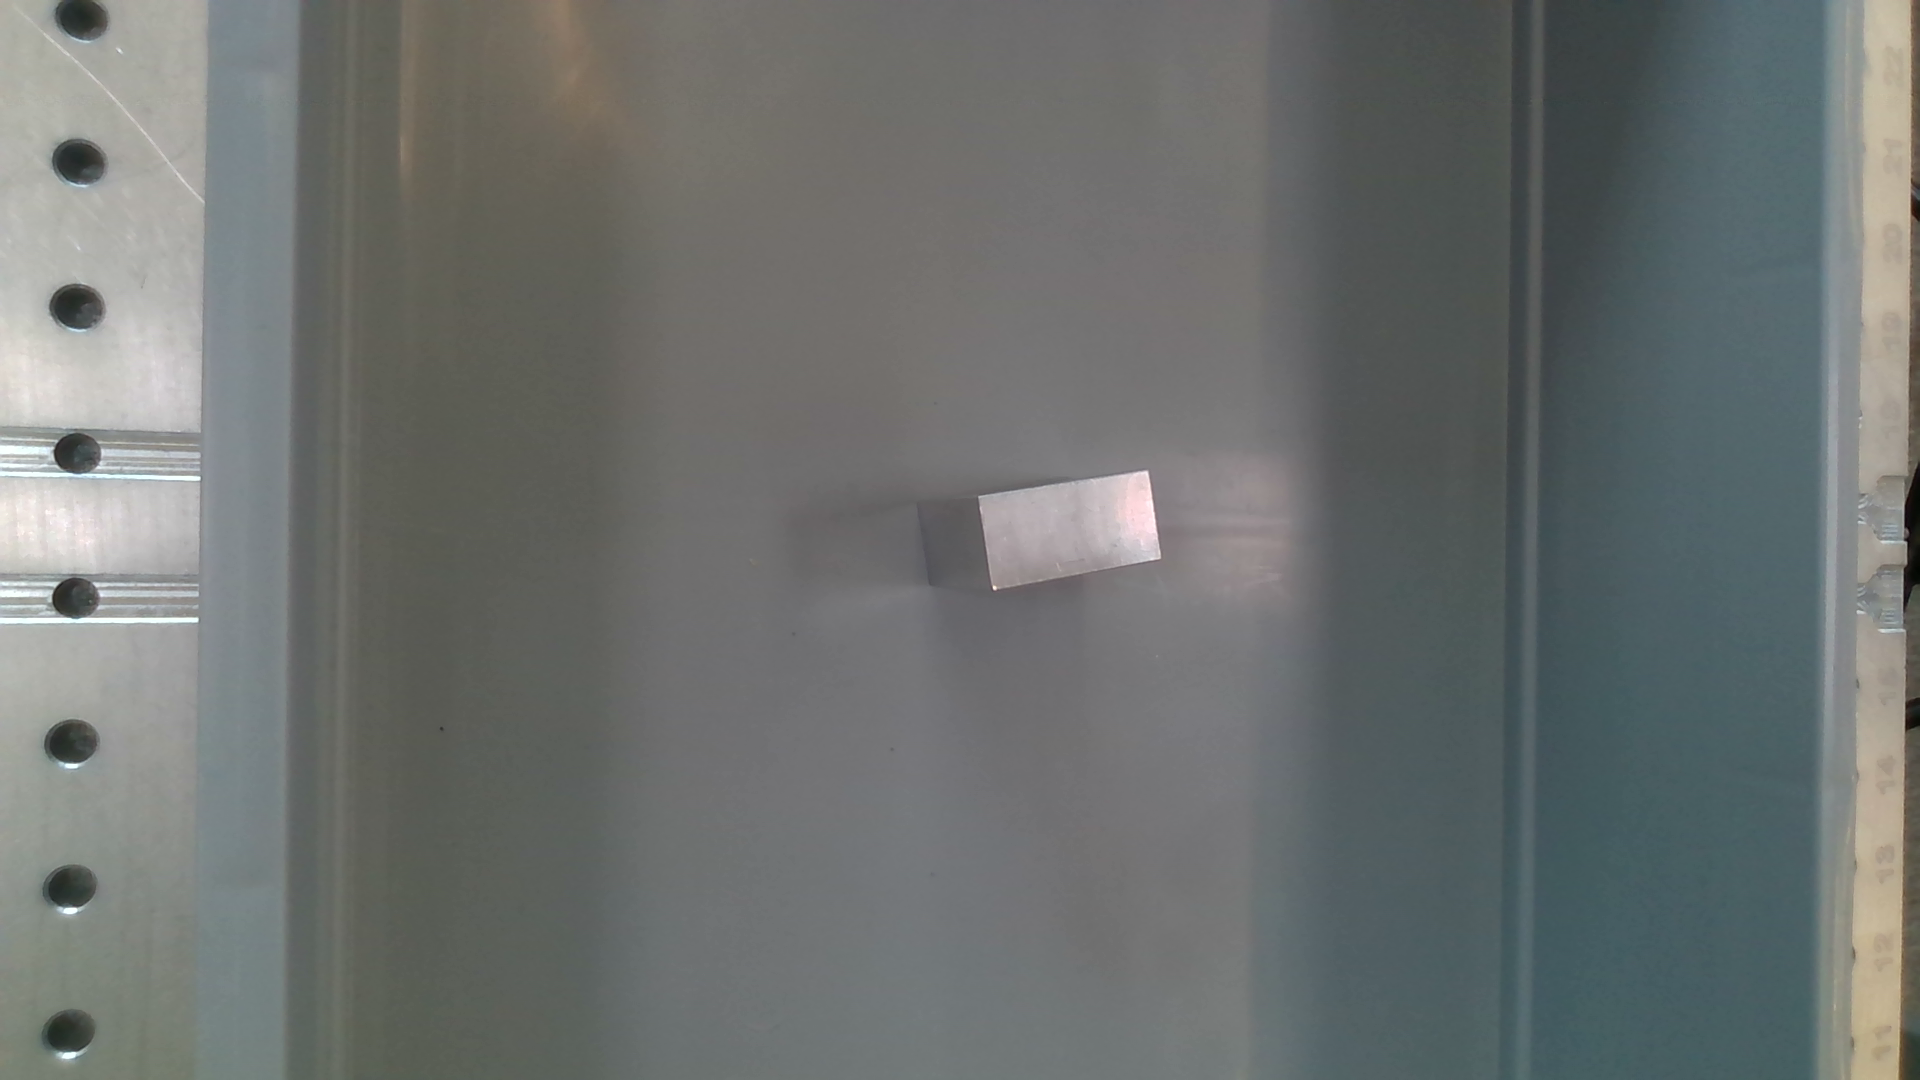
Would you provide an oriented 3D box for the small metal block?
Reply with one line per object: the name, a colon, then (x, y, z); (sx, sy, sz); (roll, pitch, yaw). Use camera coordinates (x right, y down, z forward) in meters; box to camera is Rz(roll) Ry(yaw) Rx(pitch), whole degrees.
small metal block: (0.021, -0.003, 0.385); (0.050, 0.050, 0.025); (-9, 93, -21)
